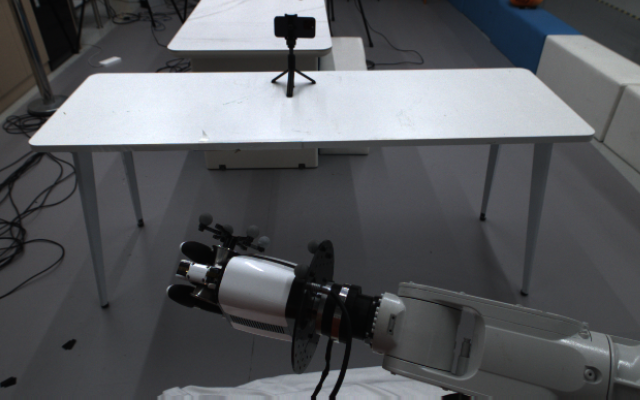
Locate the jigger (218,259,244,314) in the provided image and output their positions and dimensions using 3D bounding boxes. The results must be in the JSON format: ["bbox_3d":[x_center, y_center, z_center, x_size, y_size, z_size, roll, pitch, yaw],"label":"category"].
[{"bbox_3d":[-0.127,0.096,0.610,0.043,0.043,0.071,13,70,16],"label":"jigger"}]
